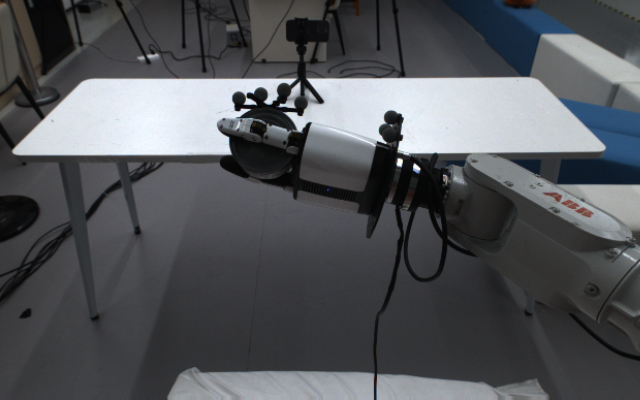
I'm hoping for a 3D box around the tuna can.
[{"bbox_3d":[-0.068,-0.071,0.607,0.085,0.034,0.085,0,75,0],"label":"tuna can"}]
